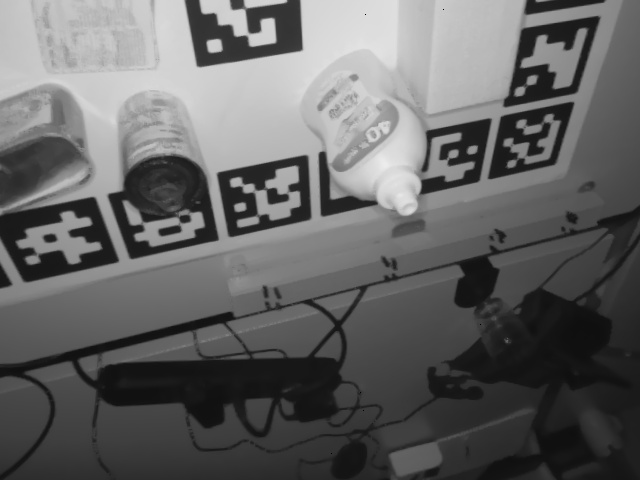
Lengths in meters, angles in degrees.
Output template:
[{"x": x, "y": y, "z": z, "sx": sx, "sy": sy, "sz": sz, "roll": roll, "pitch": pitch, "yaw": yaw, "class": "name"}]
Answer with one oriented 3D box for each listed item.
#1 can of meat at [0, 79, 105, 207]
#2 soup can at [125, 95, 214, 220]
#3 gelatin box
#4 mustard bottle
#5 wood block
[{"x": -0.237, "y": -0.086, "z": 0.598, "sx": 0.102, "sy": 0.084, "sz": 0.057, "roll": -19, "pitch": 136, "yaw": 0, "class": "can of meat"}, {"x": -0.137, "y": -0.077, "z": 0.621, "sx": 0.068, "sy": 0.102, "sz": 0.067, "roll": -12, "pitch": 134, "yaw": -11, "class": "soup can"}, {"x": -0.169, "y": -0.182, "z": 0.563, "sx": 0.090, "sy": 0.030, "sz": 0.072, "roll": -6, "pitch": 132, "yaw": -21, "class": "gelatin box"}, {"x": 0.059, "y": -0.098, "z": 0.636, "sx": 0.096, "sy": 0.192, "sz": 0.058, "roll": -28, "pitch": 137, "yaw": 9, "class": "mustard bottle"}, {"x": 0.141, "y": -0.222, "z": 0.615, "sx": 0.092, "sy": 0.090, "sz": 0.204, "roll": -10, "pitch": 139, "yaw": -11, "class": "wood block"}]
